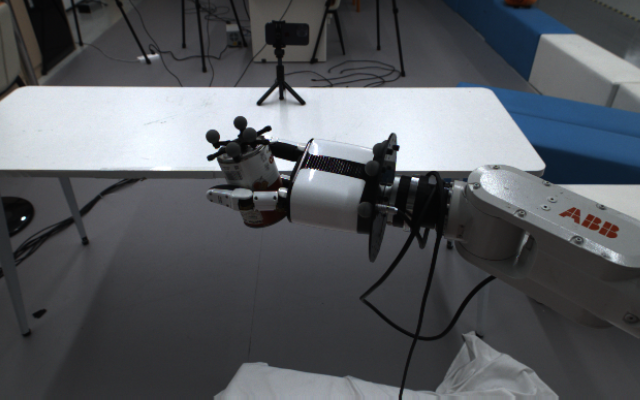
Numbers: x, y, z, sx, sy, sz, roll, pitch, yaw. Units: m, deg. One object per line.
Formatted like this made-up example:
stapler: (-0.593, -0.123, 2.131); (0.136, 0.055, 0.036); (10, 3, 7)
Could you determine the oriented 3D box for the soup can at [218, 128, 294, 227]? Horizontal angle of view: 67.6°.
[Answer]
soup can: (-0.082, -0.023, 0.622); (0.067, 0.101, 0.067); (-13, 31, 8)
